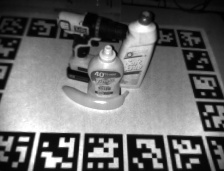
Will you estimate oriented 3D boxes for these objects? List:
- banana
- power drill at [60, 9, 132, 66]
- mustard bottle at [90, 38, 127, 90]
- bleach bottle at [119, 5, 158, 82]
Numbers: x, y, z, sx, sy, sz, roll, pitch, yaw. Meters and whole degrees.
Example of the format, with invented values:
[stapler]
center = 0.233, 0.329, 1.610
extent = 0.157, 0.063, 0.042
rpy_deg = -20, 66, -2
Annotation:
[banana]
center = -0.039, 0.014, 0.642
extent = 0.197, 0.039, 0.074
rpy_deg = 7, 58, -1
[power drill]
center = -0.047, -0.129, 0.605
extent = 0.184, 0.187, 0.057
rpy_deg = 14, 56, 0
[mustard bottle]
center = -0.010, -0.055, 0.588
extent = 0.096, 0.192, 0.058
rpy_deg = 4, 57, -5
[bleach bottle]
center = 0.063, -0.113, 0.606
extent = 0.103, 0.251, 0.067
rpy_deg = 5, 51, -3
